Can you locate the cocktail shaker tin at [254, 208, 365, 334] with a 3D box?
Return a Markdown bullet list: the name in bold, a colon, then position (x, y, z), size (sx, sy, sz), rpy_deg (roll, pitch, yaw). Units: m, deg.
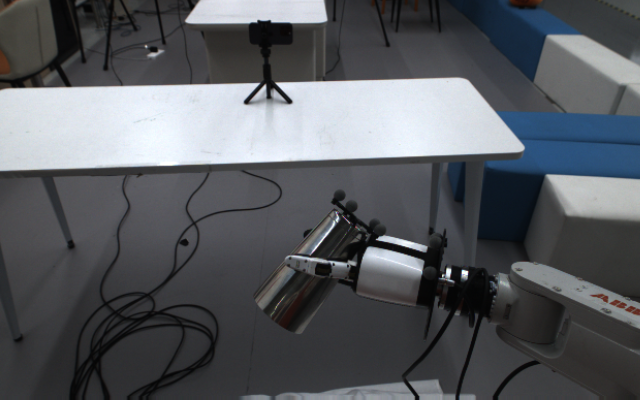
- **cocktail shaker tin**: position (-0.007, 0.094, 0.704), size (0.170, 0.093, 0.093), rpy_deg (-50, 47, 3)
